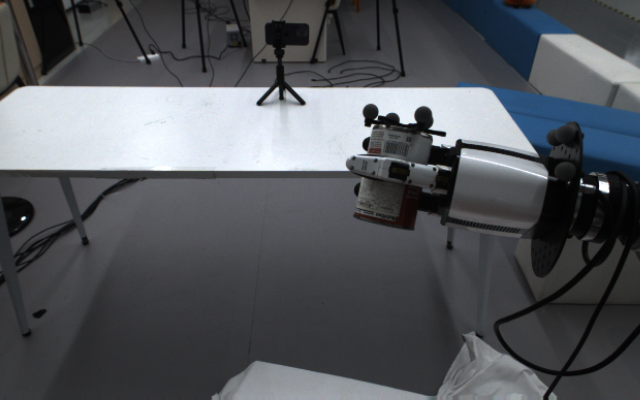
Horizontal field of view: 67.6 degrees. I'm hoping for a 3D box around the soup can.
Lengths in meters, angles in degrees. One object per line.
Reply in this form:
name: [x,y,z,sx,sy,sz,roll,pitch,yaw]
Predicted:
soup can: [0.081,-0.025,0.525,0.067,0.101,0.067,12,2,-1]
